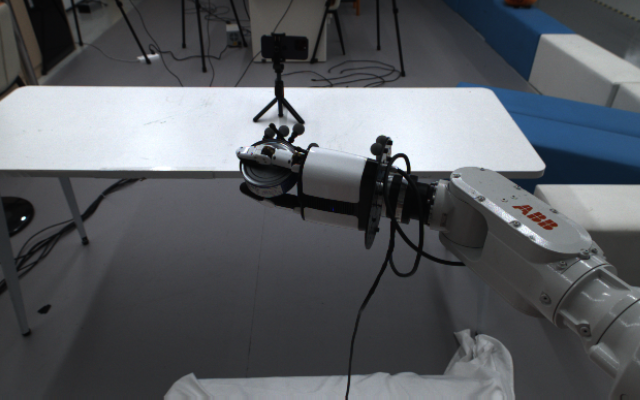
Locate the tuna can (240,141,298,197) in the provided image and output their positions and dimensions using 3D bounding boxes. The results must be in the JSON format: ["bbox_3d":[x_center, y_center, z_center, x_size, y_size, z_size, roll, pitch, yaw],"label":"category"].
[{"bbox_3d":[-0.073,-0.048,0.713,0.085,0.034,0.085,-4,56,6],"label":"tuna can"}]
